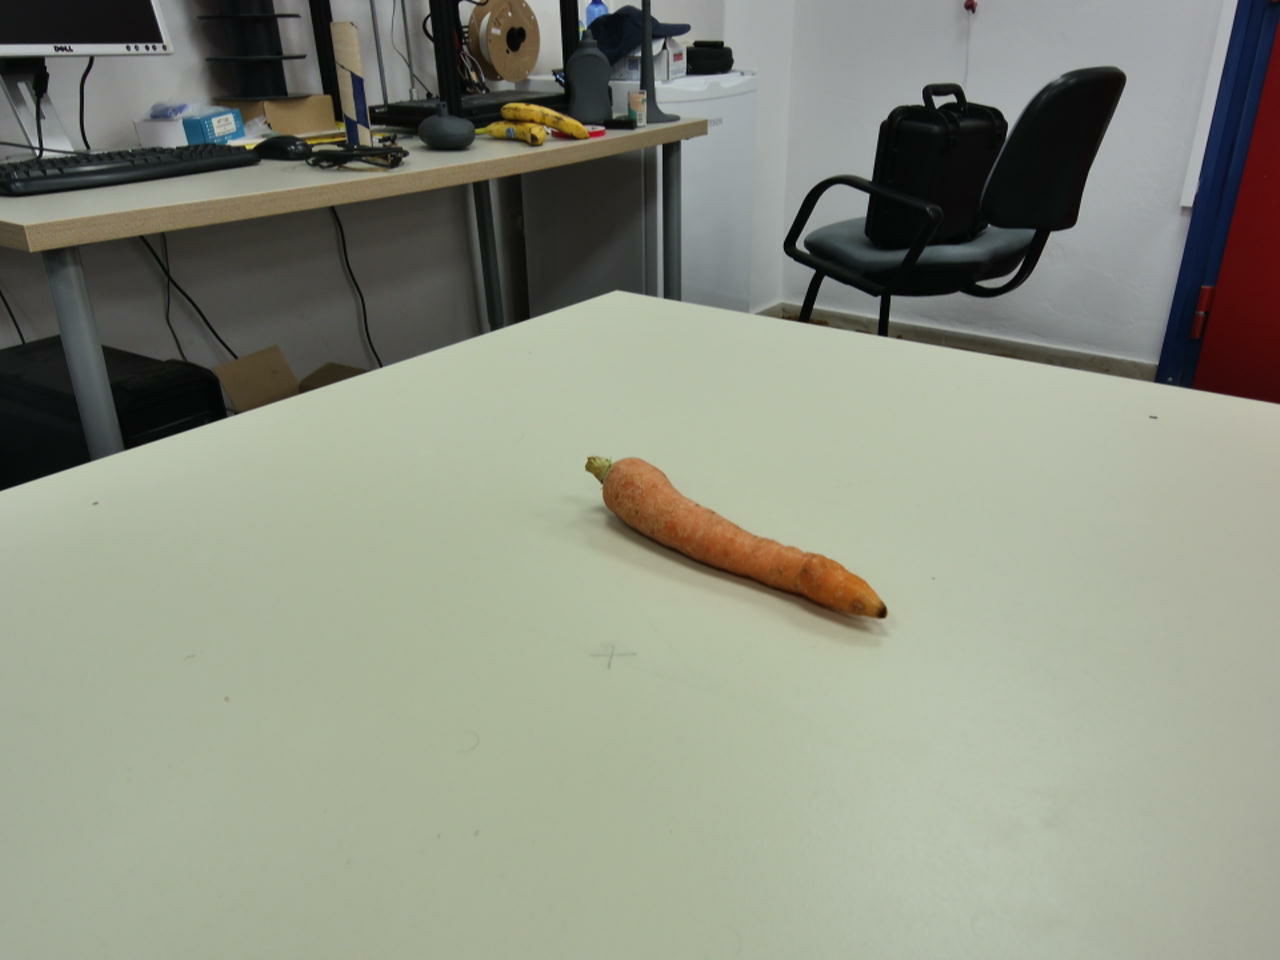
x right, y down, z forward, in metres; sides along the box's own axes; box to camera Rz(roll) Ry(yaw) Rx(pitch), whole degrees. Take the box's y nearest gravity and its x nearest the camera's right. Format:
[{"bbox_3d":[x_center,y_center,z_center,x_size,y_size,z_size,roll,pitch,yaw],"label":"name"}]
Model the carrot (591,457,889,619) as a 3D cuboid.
[{"bbox_3d":[0.036,0.022,0.446,0.030,0.032,0.173,-19,29,-38],"label":"carrot"}]
